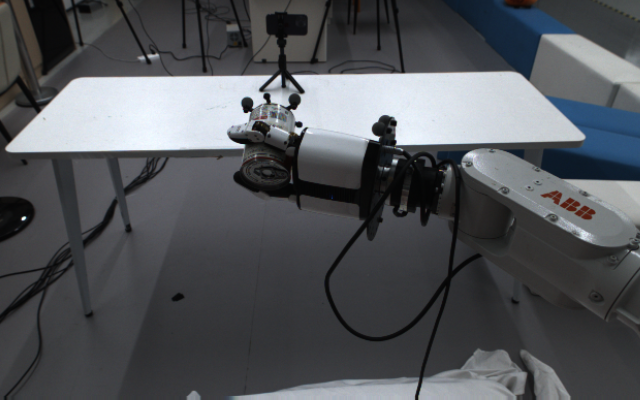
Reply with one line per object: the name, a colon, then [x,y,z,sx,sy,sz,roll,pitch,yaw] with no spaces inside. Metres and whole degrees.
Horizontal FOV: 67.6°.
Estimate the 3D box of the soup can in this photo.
soup can: [-0.070,-0.073,0.659,0.067,0.067,0.101,3,56,1]
